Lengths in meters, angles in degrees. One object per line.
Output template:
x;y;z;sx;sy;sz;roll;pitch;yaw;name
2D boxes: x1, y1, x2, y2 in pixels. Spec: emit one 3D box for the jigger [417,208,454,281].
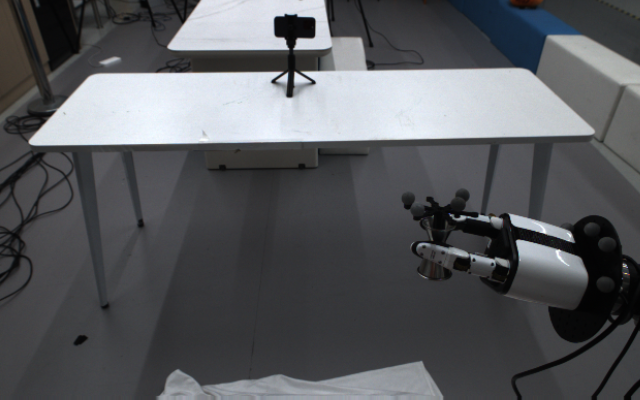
0.145;0.060;0.605;0.043;0.071;0.043;0;21;0;jigger
